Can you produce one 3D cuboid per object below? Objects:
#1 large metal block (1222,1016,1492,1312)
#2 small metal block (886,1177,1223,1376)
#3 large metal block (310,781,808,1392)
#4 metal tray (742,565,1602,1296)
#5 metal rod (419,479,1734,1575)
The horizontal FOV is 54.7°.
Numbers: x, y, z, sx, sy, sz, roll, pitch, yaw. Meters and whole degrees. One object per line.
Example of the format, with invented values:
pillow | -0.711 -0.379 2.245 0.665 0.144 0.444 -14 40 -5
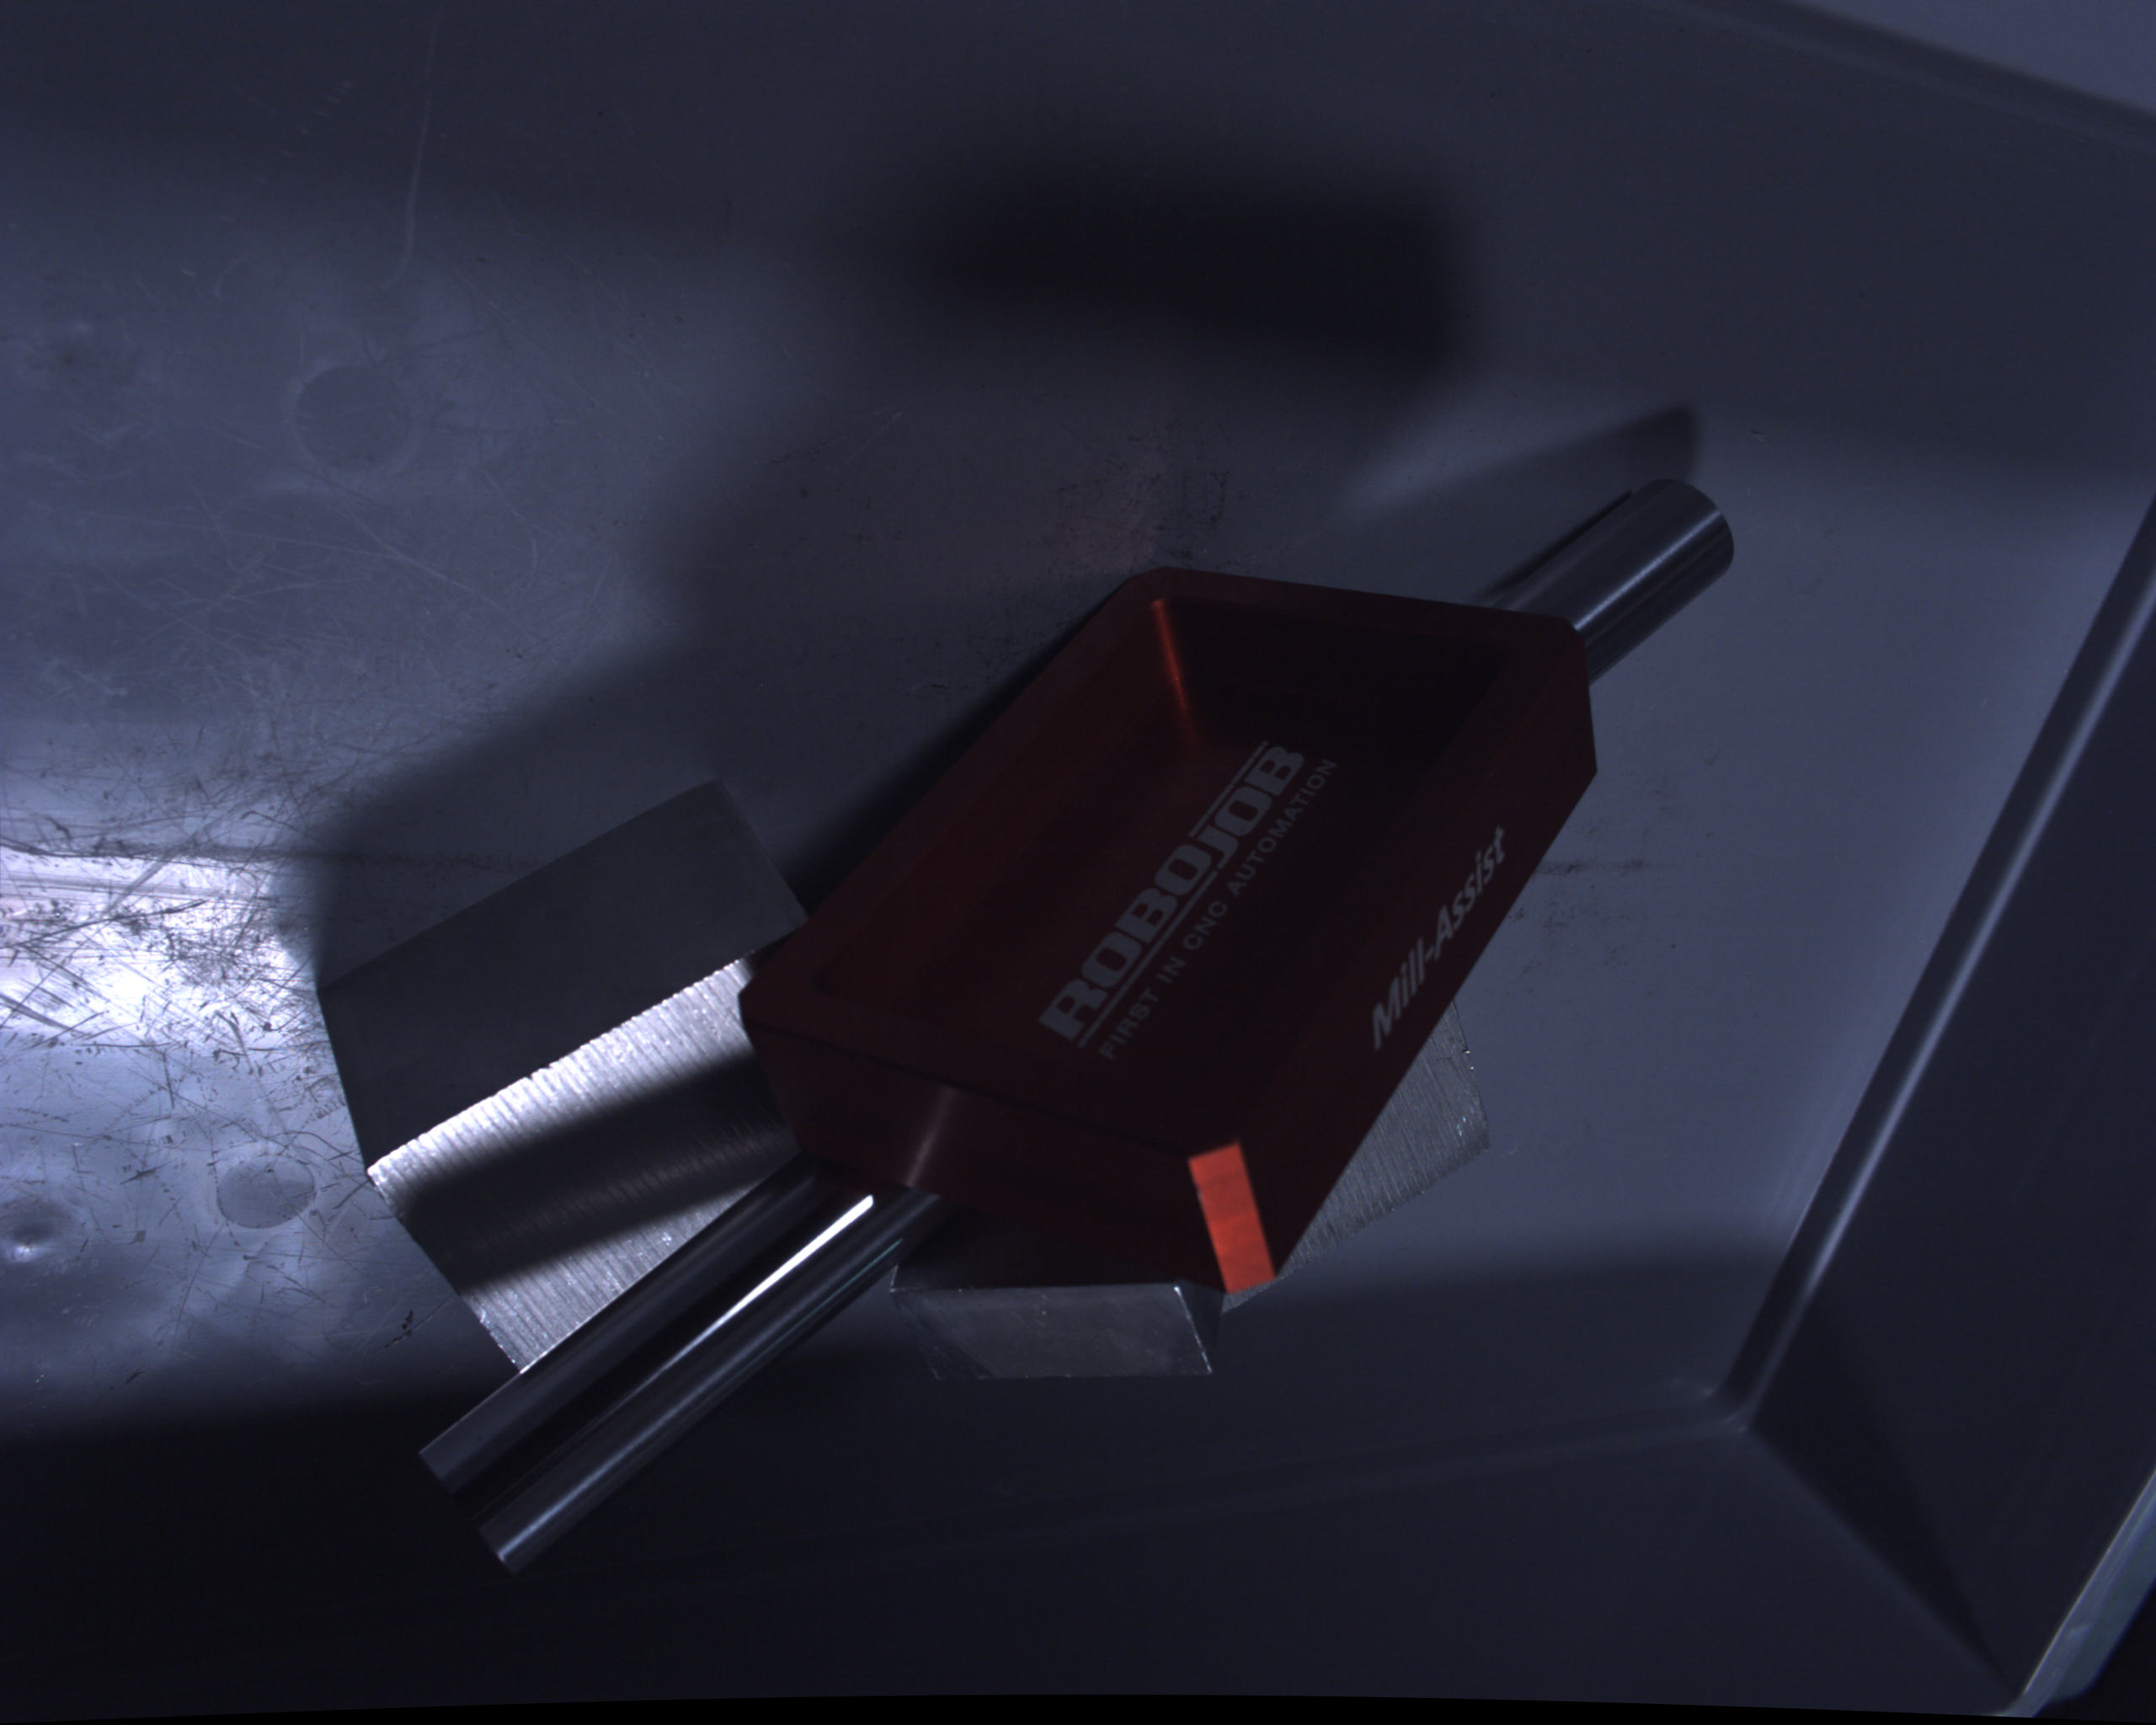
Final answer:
large metal block | 0.032 0.040 0.435 0.080 0.050 0.080 -30 129 -10
small metal block | 0.000 0.062 0.368 0.050 0.050 0.025 -5 129 17
large metal block | -0.077 0.046 0.375 0.080 0.050 0.080 -30 129 -10
metal tray | 0.020 0.002 0.344 0.131 0.090 0.030 -50 139 -36
metal rod | 0.017 0.015 0.379 0.302 0.025 0.025 -38 131 -23
